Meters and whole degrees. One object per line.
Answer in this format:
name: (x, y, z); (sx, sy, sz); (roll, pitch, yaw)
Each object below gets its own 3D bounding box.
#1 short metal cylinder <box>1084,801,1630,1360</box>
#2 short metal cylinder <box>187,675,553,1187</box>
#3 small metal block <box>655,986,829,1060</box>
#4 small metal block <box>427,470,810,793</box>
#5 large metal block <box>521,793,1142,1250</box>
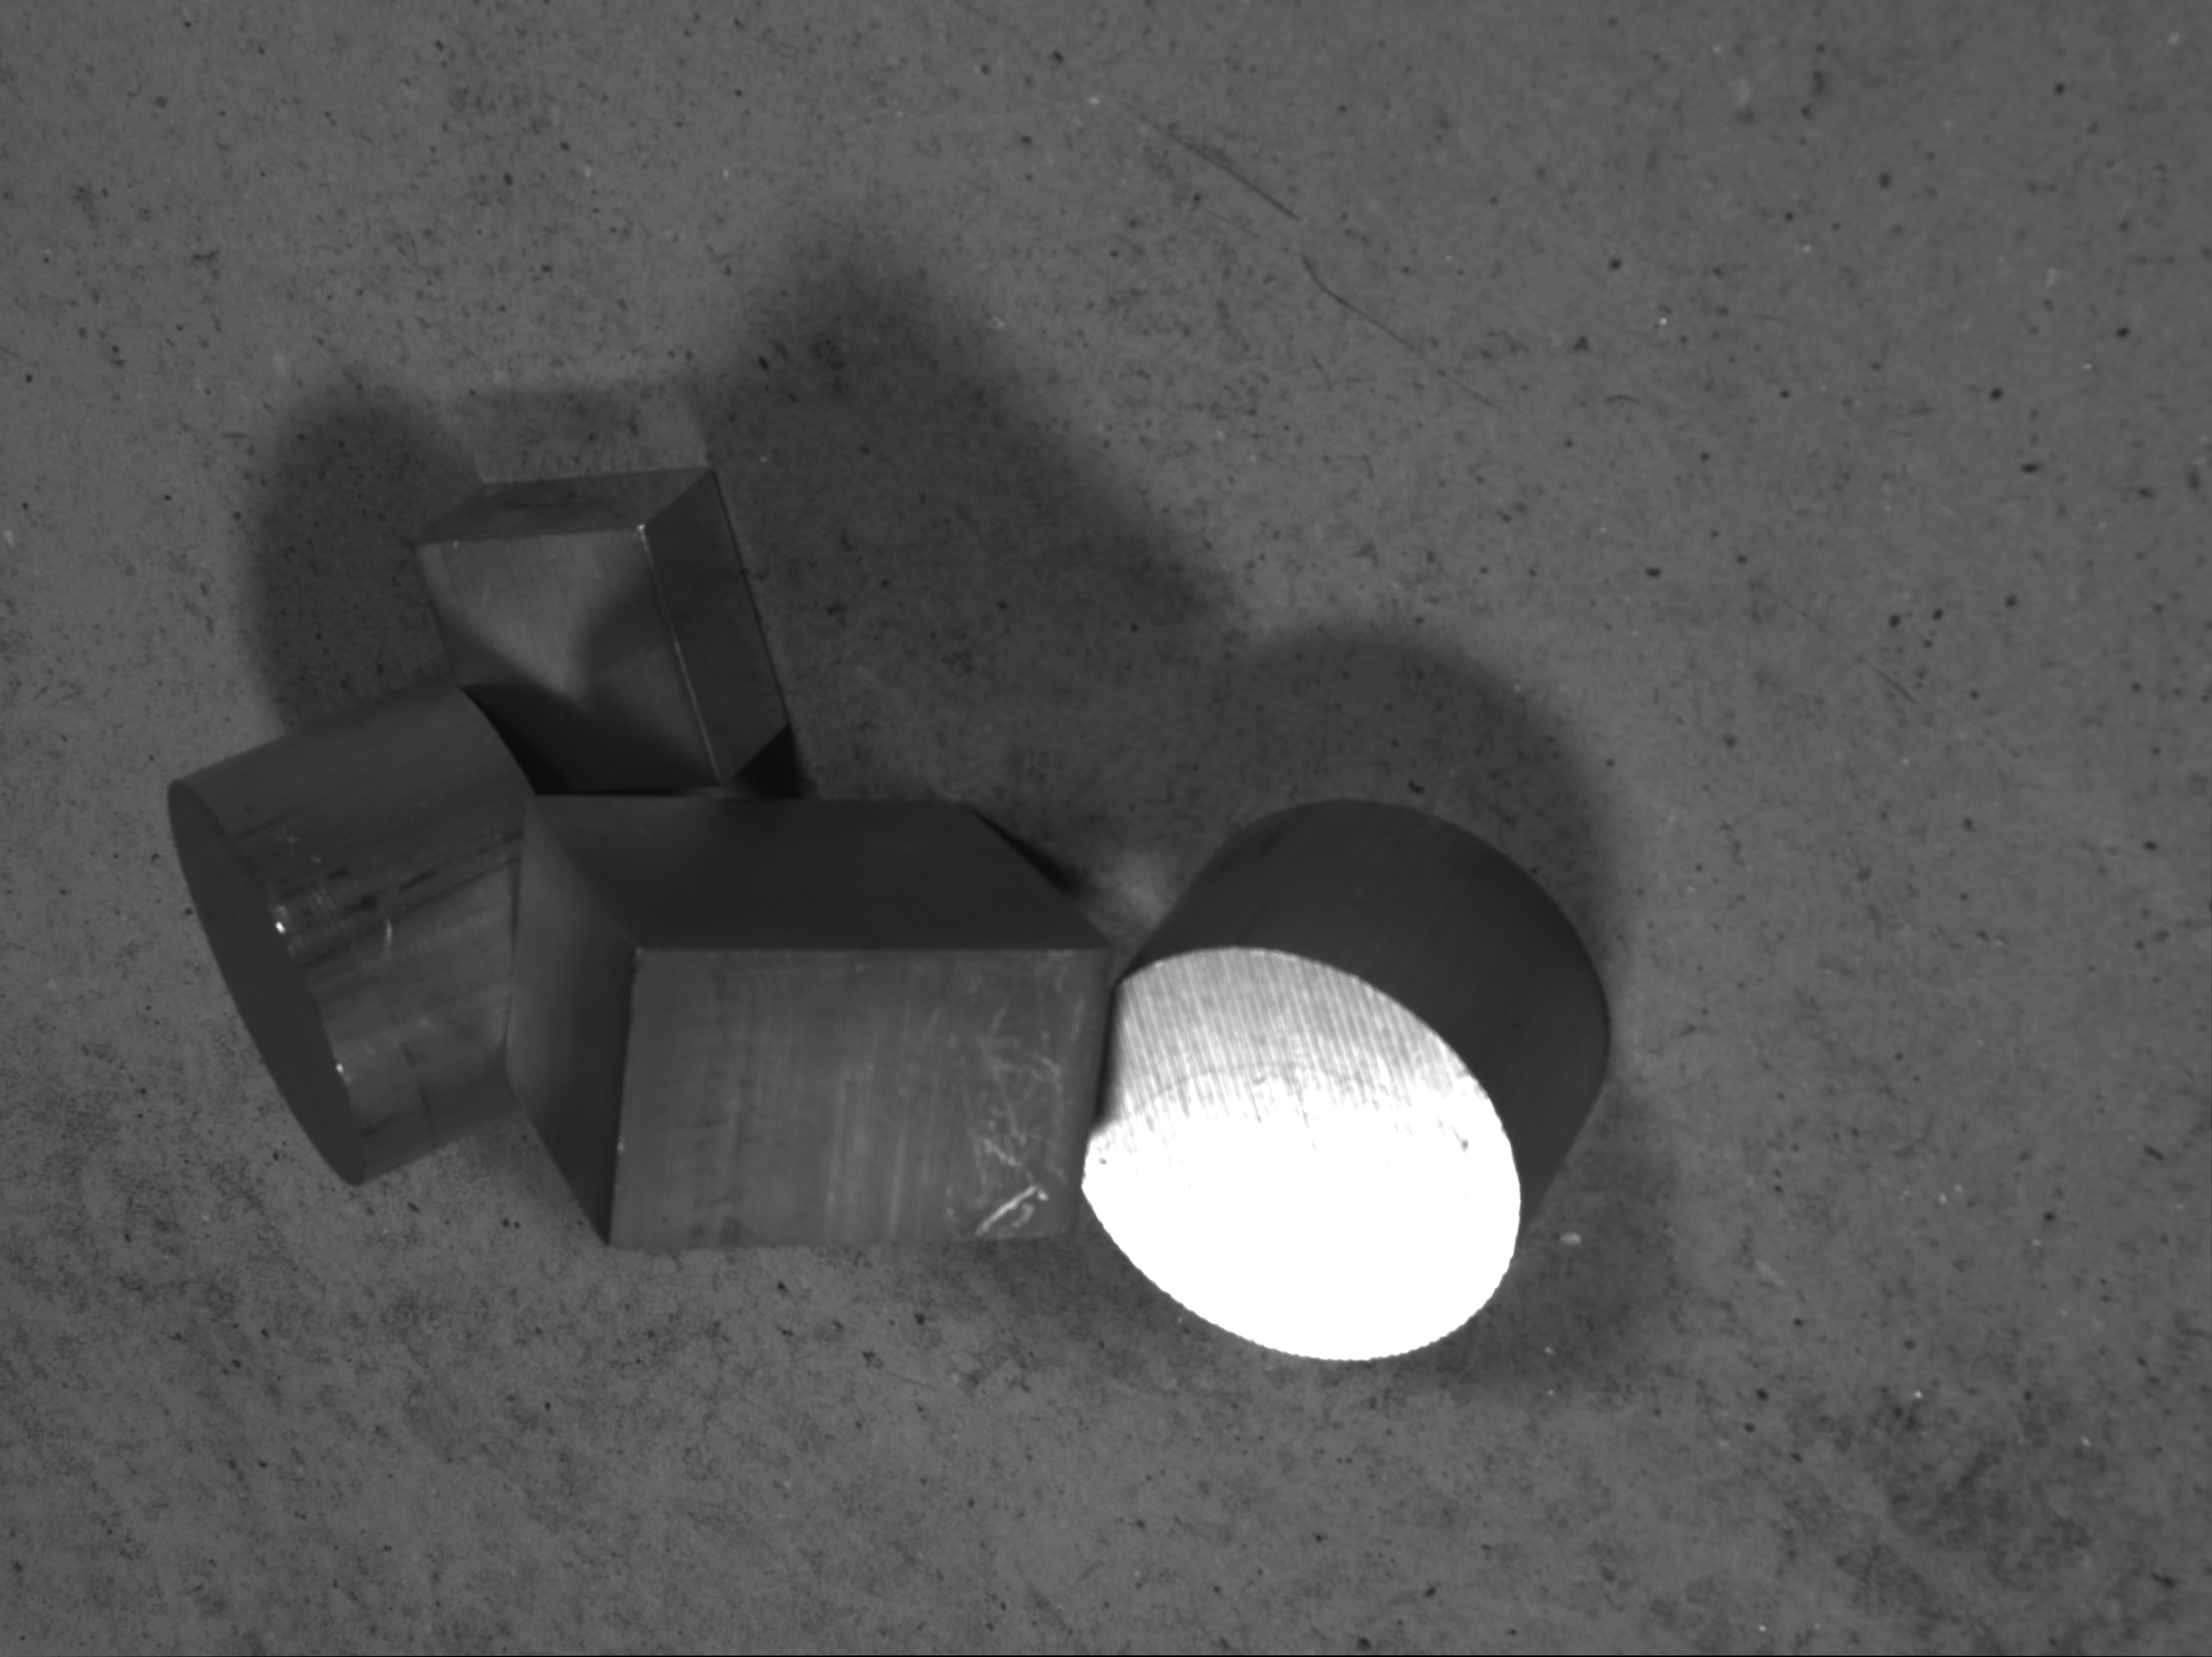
short metal cylinder: (0.043, 0.042, 0.619); (0.080, 0.050, 0.080); (12, 123, 20)
short metal cylinder: (-0.126, 0.018, 0.667); (0.080, 0.050, 0.080); (48, 153, 35)
small metal block: (-0.066, 0.045, 0.691); (0.050, 0.025, 0.050); (3, 119, 25)
small metal block: (-0.087, -0.034, 0.654); (0.050, 0.025, 0.050); (-1, 118, 27)
large metal block: (-0.048, 0.030, 0.615); (0.080, 0.080, 0.050); (1, 107, -22)
